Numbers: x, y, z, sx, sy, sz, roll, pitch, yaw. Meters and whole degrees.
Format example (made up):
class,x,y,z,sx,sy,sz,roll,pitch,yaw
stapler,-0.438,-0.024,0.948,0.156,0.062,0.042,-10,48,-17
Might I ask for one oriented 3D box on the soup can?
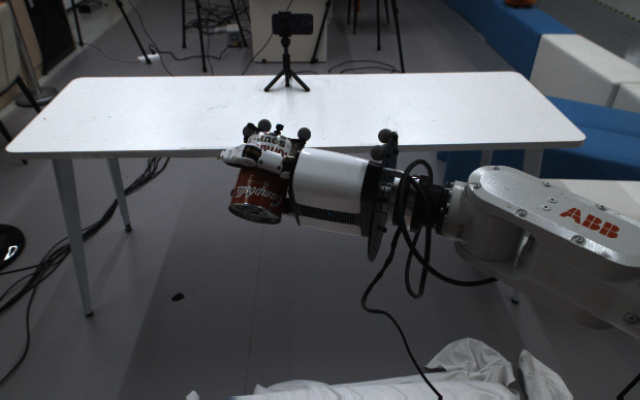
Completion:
class,x,y,z,sx,sy,sz,roll,pitch,yaw
soup can,-0.071,-0.028,0.614,0.067,0.067,0.101,9,69,10
